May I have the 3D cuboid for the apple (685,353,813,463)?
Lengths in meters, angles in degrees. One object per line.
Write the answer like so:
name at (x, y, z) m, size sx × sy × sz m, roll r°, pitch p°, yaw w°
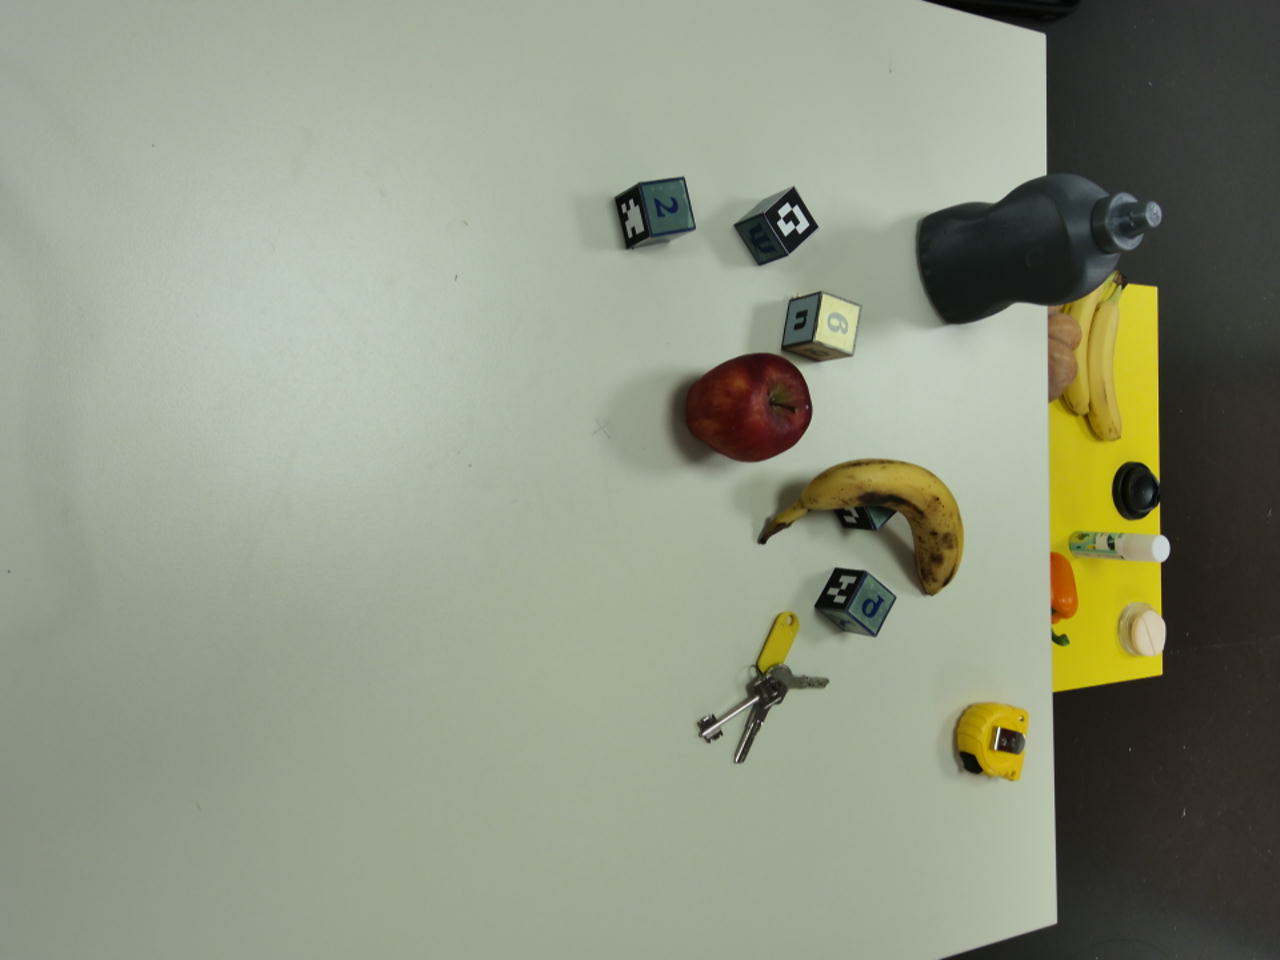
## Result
apple at (0.079, -0.052, 0.700) m, size 0.083 × 0.090 × 0.083 m, roll 0°, pitch 91°, yaw -28°
